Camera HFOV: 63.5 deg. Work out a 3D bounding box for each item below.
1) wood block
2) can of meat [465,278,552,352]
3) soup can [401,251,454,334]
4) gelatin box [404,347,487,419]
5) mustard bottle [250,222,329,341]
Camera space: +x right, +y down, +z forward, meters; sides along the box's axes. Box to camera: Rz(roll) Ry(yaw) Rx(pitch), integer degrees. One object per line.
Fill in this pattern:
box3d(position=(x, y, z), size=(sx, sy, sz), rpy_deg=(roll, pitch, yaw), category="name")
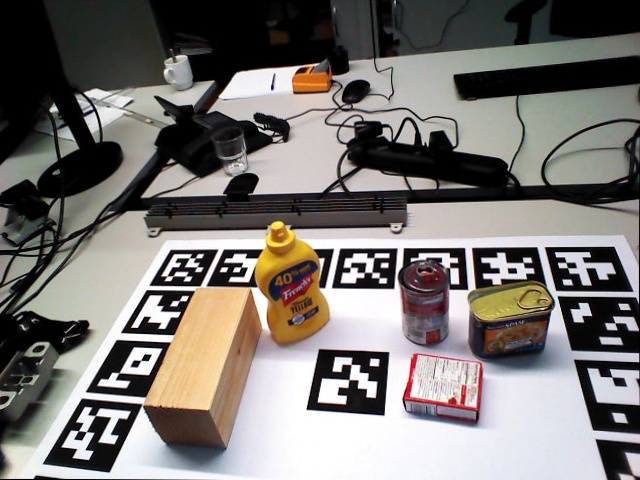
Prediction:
box3d(position=(-0.152, 0.161, 0.705), size=(0.091, 0.090, 0.205), rpy_deg=(0, 35, 14), category="wood block")
box3d(position=(0.243, 0.097, 0.679), size=(0.102, 0.084, 0.057), rpy_deg=(-9, 38, 1), category="can of meat")
box3d(position=(0.149, 0.071, 0.709), size=(0.068, 0.102, 0.067), rpy_deg=(-8, 39, 7), category="soup can")
box3d(position=(0.156, 0.175, 0.640), size=(0.090, 0.030, 0.073), rpy_deg=(3, 42, 24), category="gelatin box")
box3d(position=(-0.047, 0.056, 0.732), size=(0.096, 0.192, 0.058), rpy_deg=(-16, 37, -7), category="mustard bottle")
